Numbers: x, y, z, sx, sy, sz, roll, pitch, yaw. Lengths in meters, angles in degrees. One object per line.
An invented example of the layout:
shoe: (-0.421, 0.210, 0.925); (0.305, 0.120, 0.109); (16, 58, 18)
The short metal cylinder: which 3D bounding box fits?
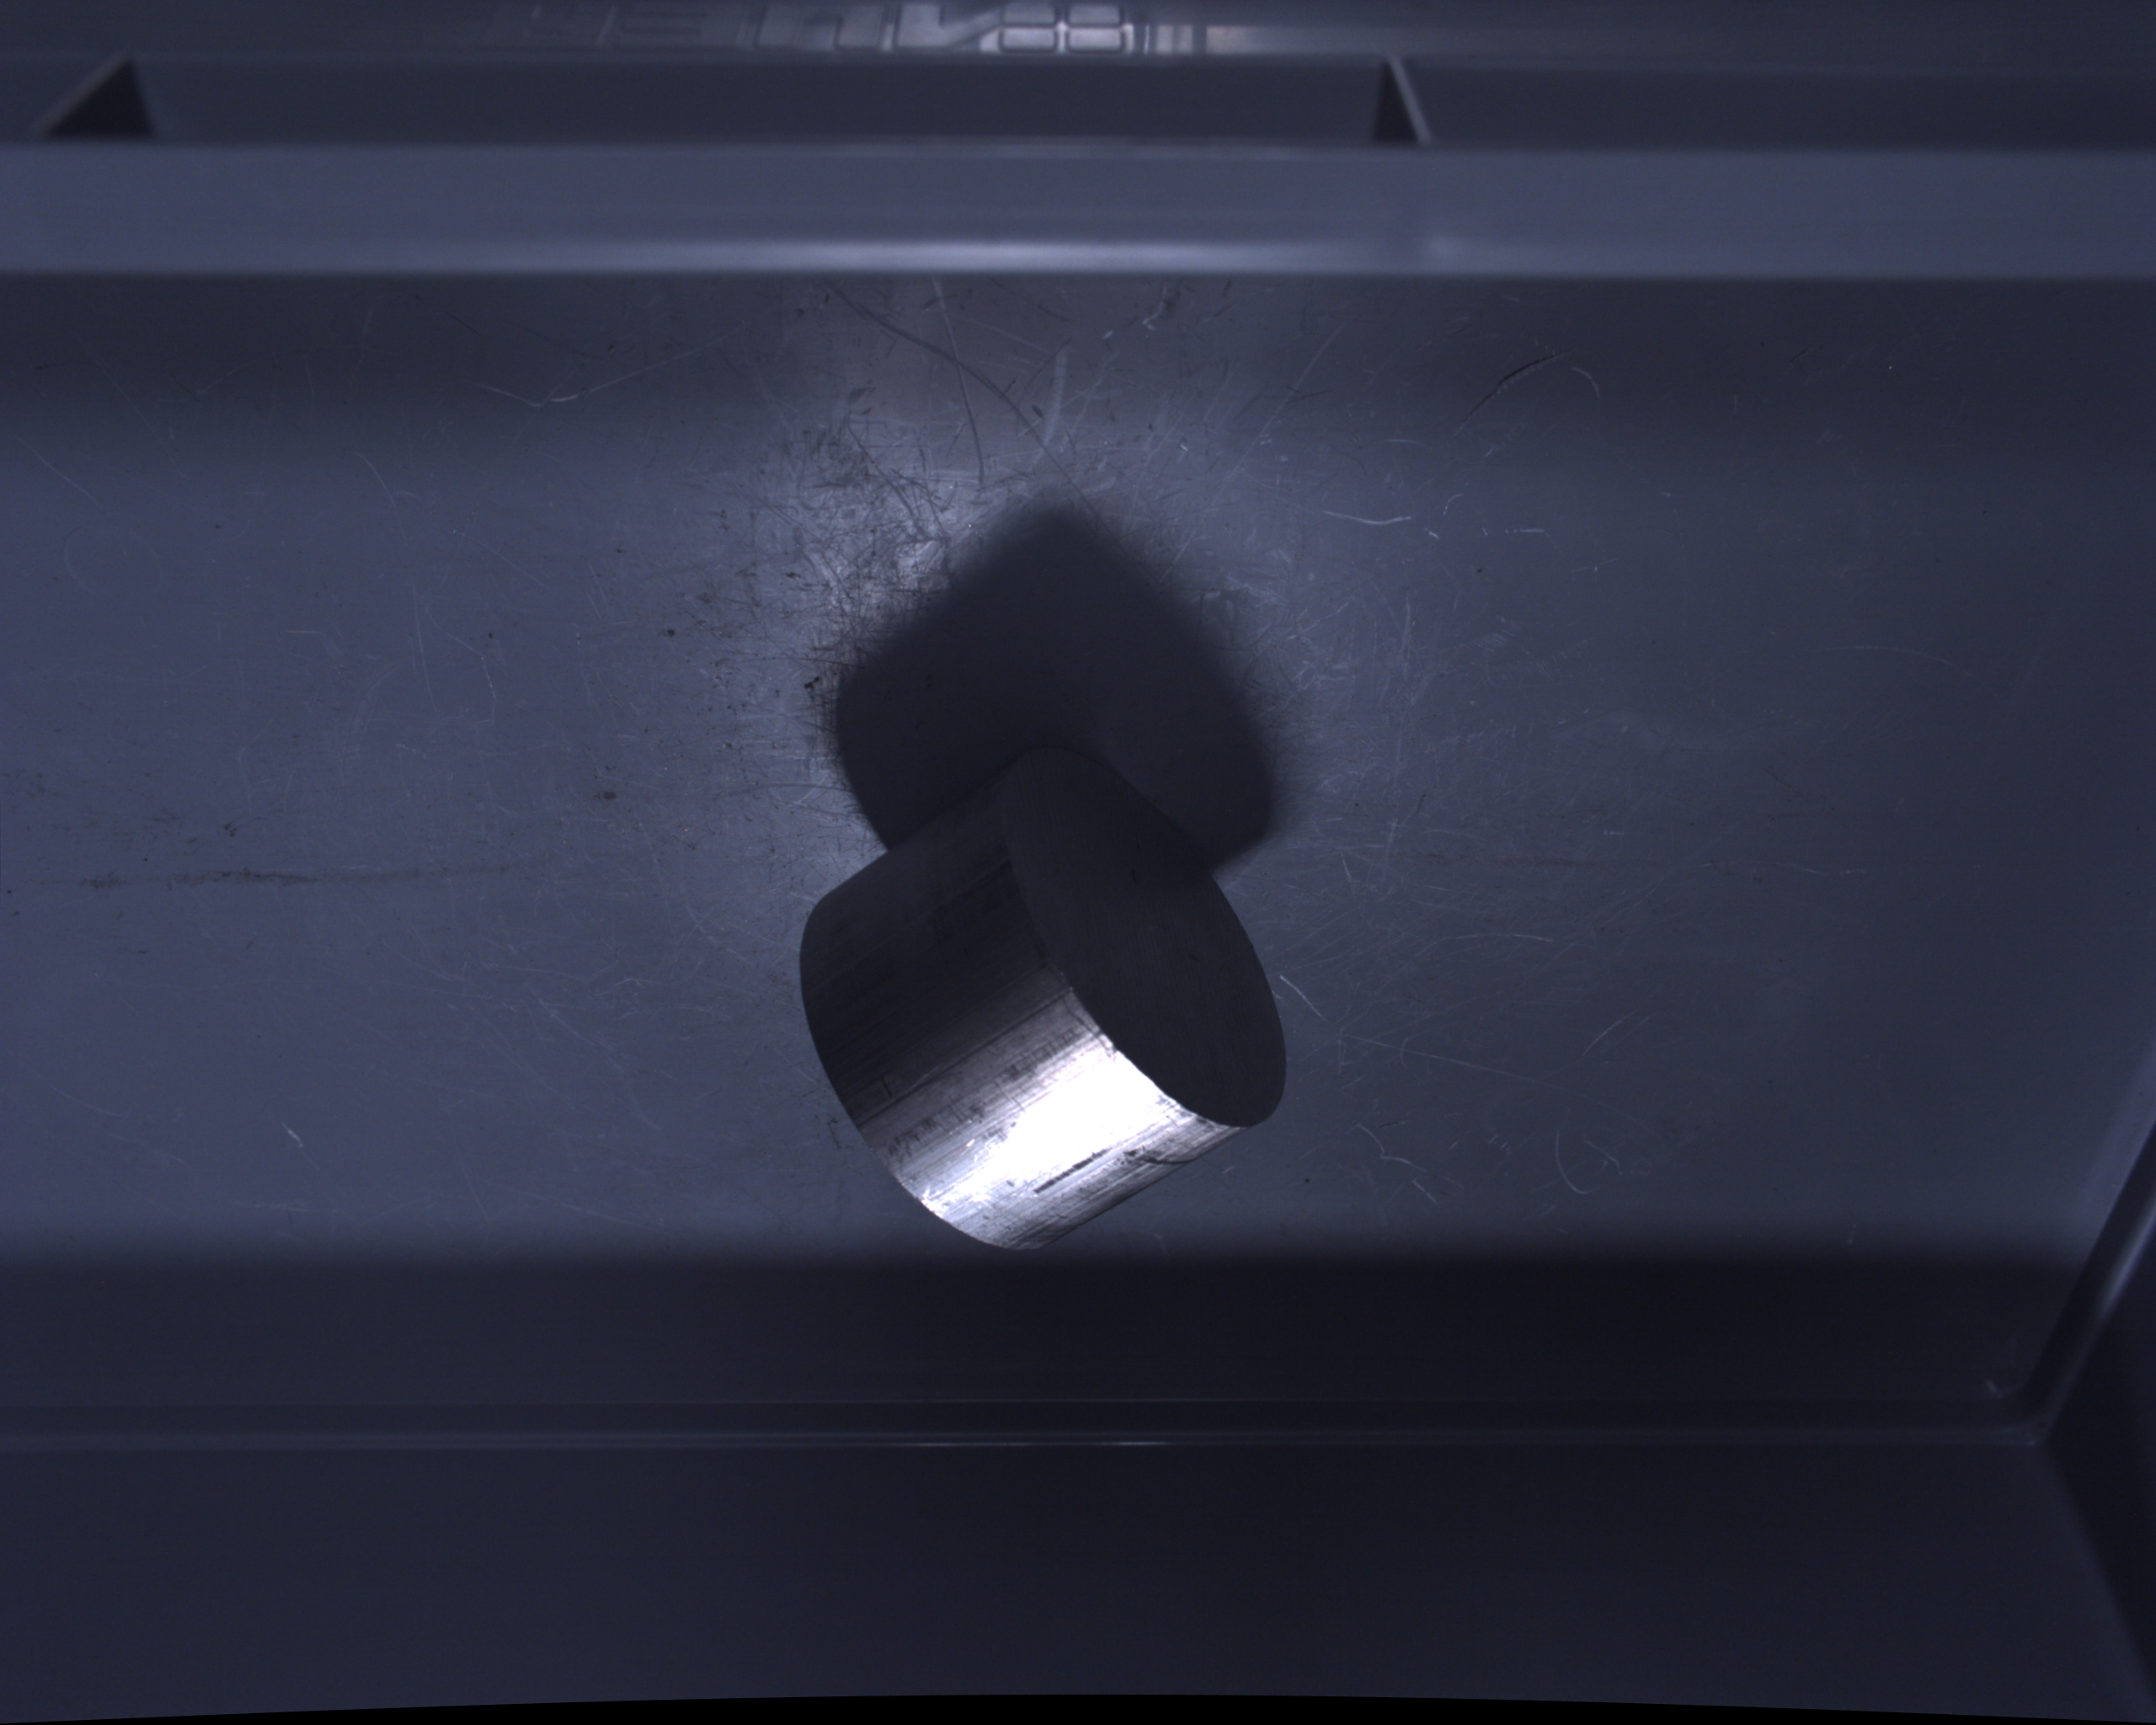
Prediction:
short metal cylinder: (-0.006, 0.025, 0.391); (0.050, 0.080, 0.080); (-34, 123, 25)
